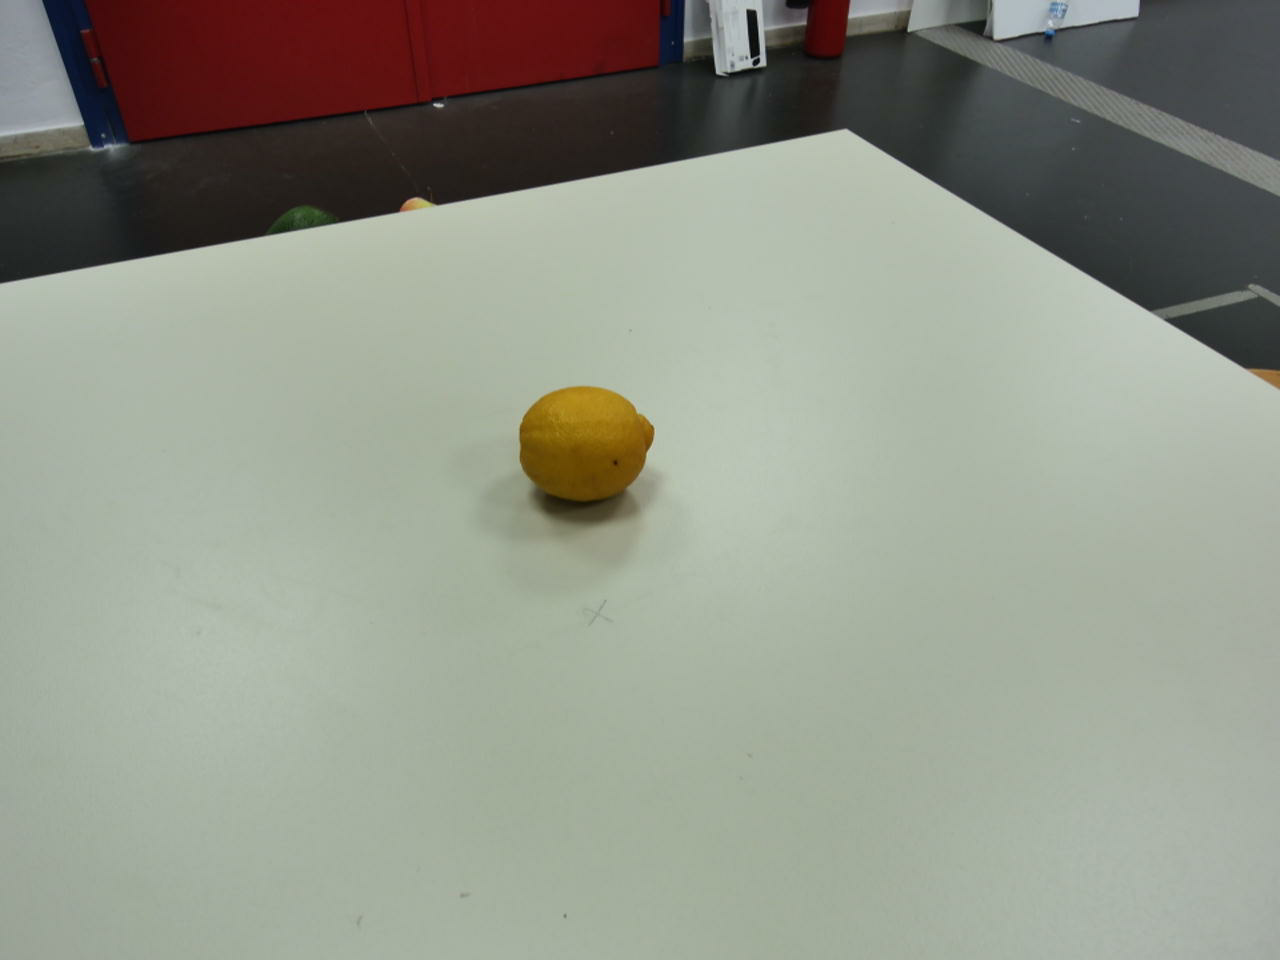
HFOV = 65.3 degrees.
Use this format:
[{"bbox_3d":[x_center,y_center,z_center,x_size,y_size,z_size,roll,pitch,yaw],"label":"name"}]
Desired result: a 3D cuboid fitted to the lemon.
[{"bbox_3d":[-0.029,-0.018,0.518,0.067,0.059,0.060,11,40,13],"label":"lemon"}]
